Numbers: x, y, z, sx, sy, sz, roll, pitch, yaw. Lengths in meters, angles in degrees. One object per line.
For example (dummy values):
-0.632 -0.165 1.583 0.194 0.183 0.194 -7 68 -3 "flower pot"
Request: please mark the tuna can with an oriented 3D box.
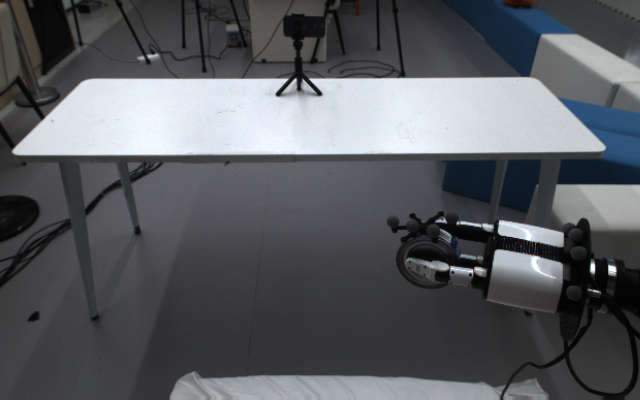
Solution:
0.153 0.077 0.675 0.085 0.085 0.034 13 29 15 "tuna can"
